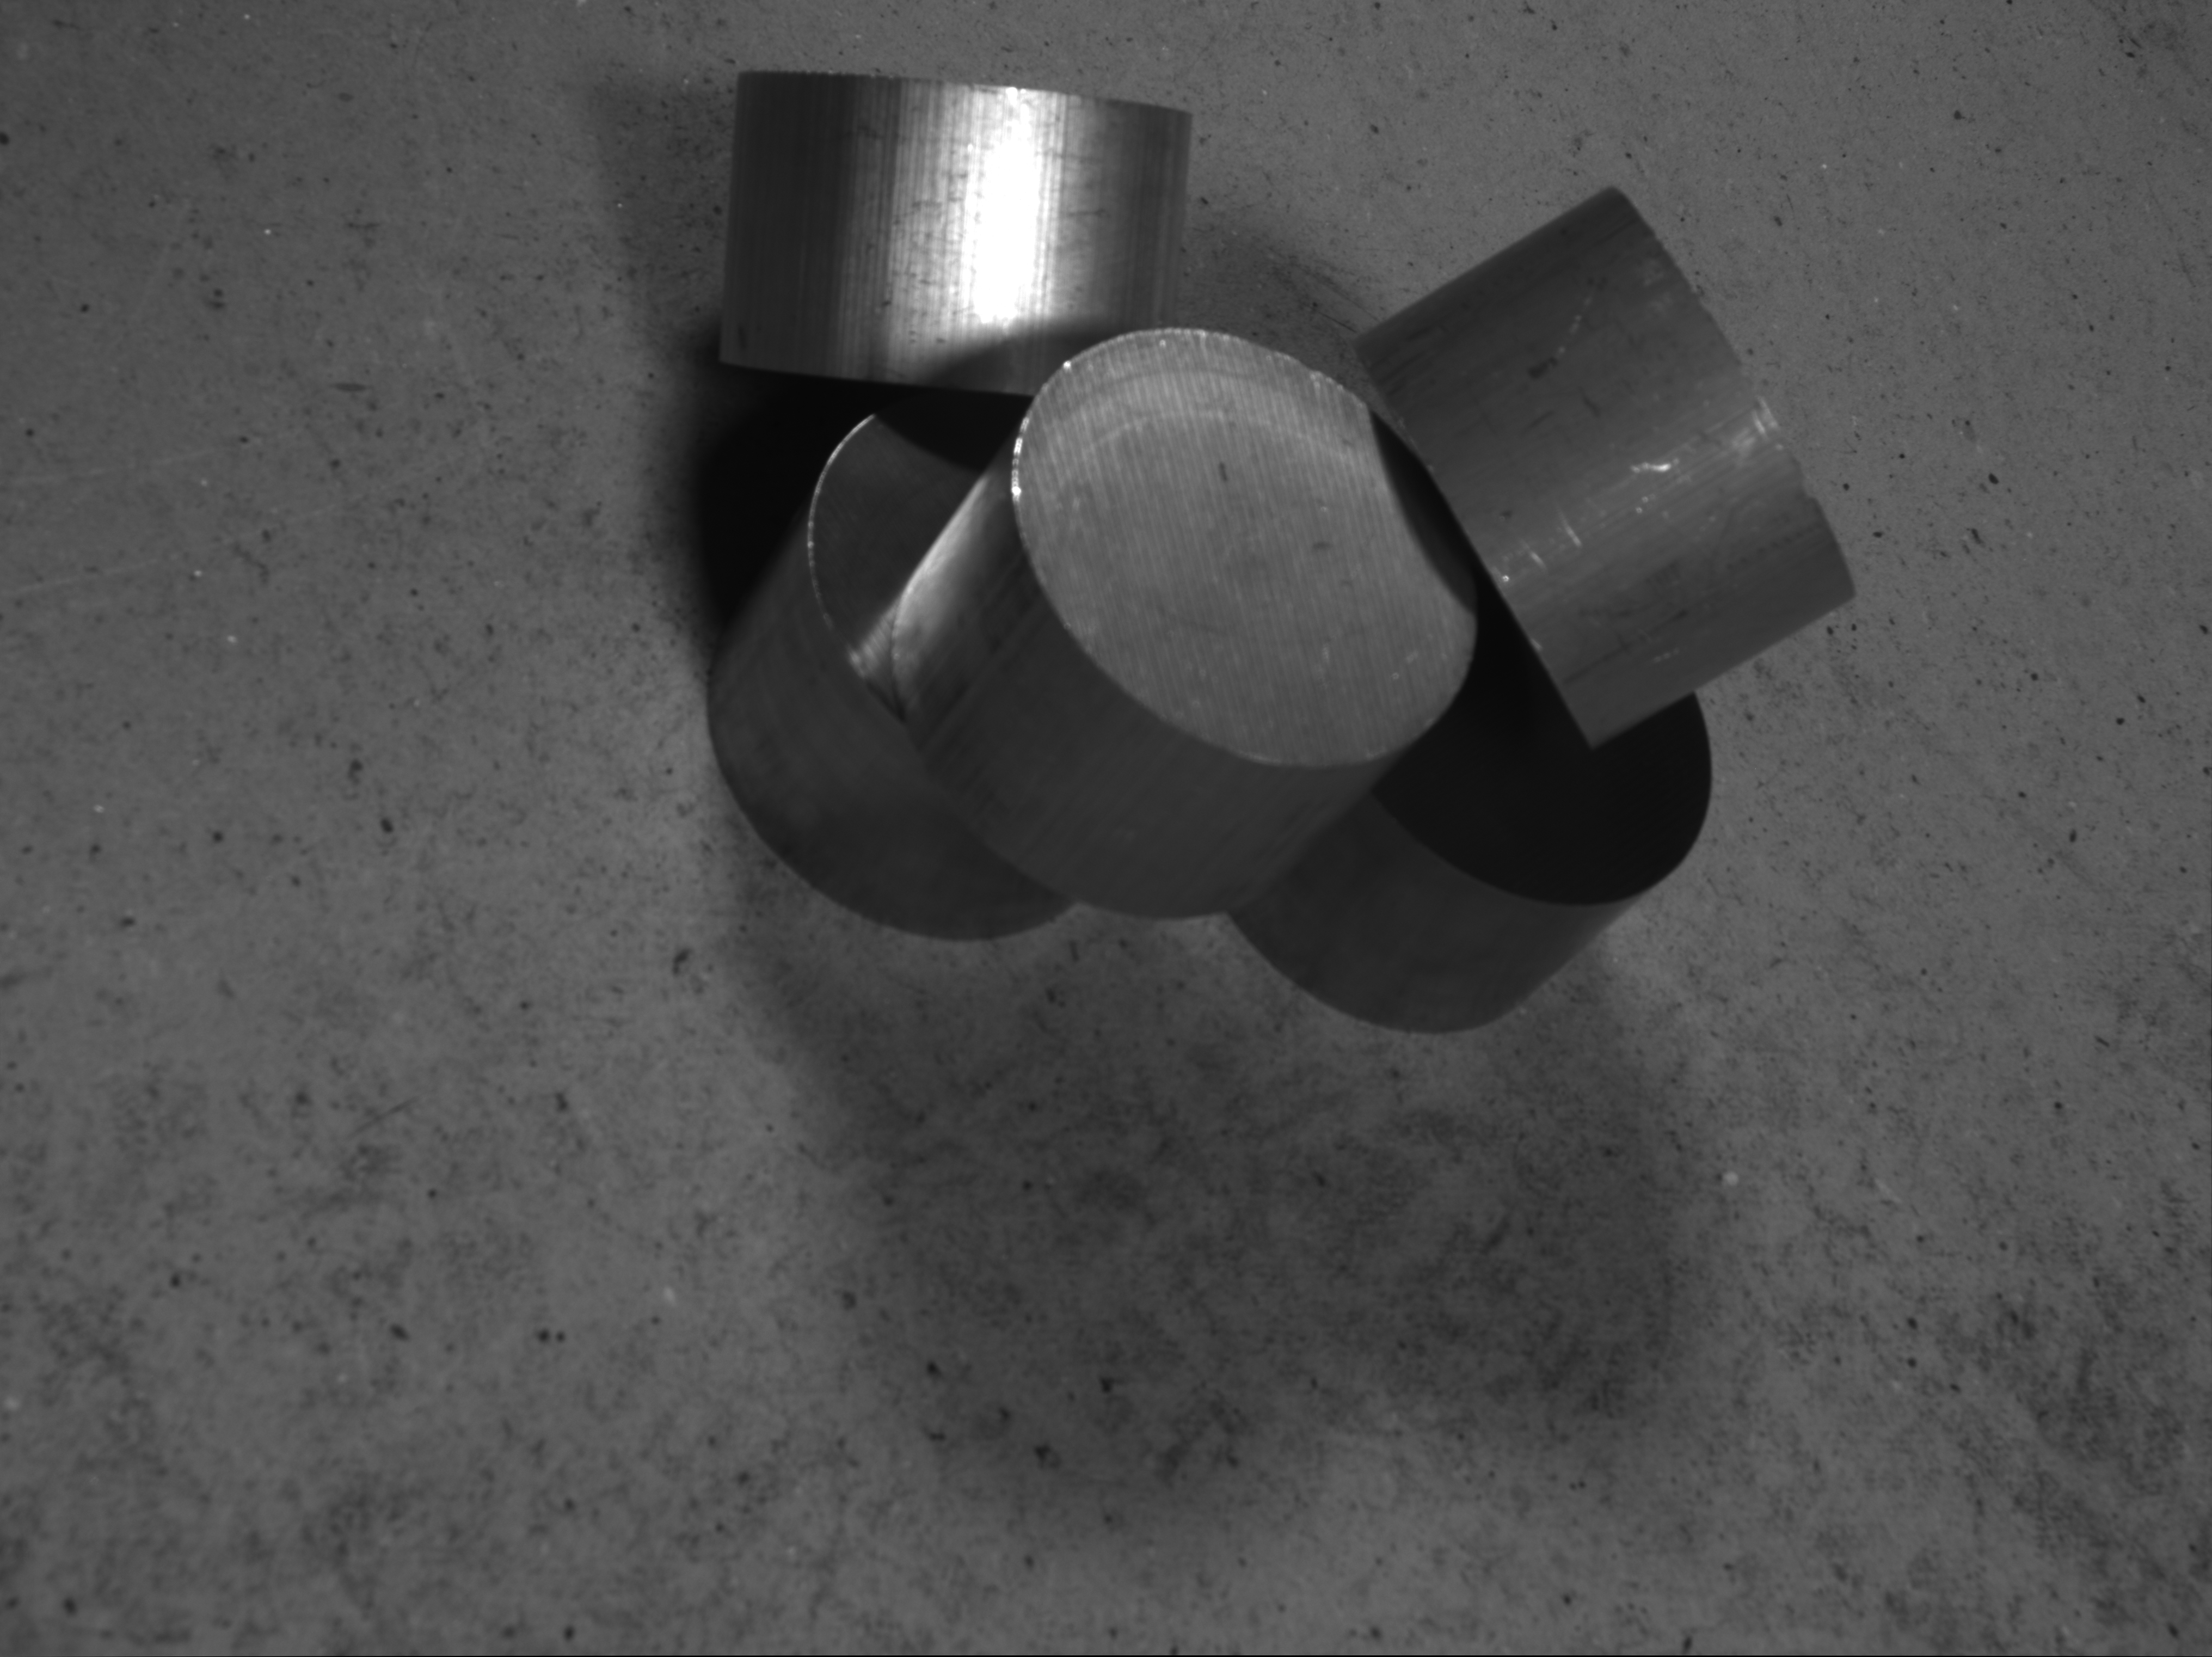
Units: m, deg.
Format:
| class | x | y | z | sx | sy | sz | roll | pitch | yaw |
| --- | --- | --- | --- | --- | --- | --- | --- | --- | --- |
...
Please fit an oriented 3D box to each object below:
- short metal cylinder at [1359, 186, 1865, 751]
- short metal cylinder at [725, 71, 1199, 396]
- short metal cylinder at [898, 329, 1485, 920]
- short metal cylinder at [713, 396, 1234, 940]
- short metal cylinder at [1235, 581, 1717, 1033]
| class | x | y | z | sx | sy | sz | roll | pitch | yaw |
| --- | --- | --- | --- | --- | --- | --- | --- | --- | --- |
| short metal cylinder | 0.084 | -0.060 | 0.613 | 0.050 | 0.080 | 0.080 | -31 | 75 | 6 |
| short metal cylinder | -0.026 | -0.104 | 0.646 | 0.080 | 0.080 | 0.050 | 0 | 100 | -28 |
| short metal cylinder | 0.013 | -0.032 | 0.586 | 0.080 | 0.050 | 0.080 | 14 | 56 | -21 |
| short metal cylinder | -0.021 | -0.028 | 0.629 | 0.080 | 0.050 | 0.080 | 14 | 56 | -21 |
| short metal cylinder | 0.063 | -0.010 | 0.663 | 0.080 | 0.050 | 0.080 | 14 | 56 | -21 |
